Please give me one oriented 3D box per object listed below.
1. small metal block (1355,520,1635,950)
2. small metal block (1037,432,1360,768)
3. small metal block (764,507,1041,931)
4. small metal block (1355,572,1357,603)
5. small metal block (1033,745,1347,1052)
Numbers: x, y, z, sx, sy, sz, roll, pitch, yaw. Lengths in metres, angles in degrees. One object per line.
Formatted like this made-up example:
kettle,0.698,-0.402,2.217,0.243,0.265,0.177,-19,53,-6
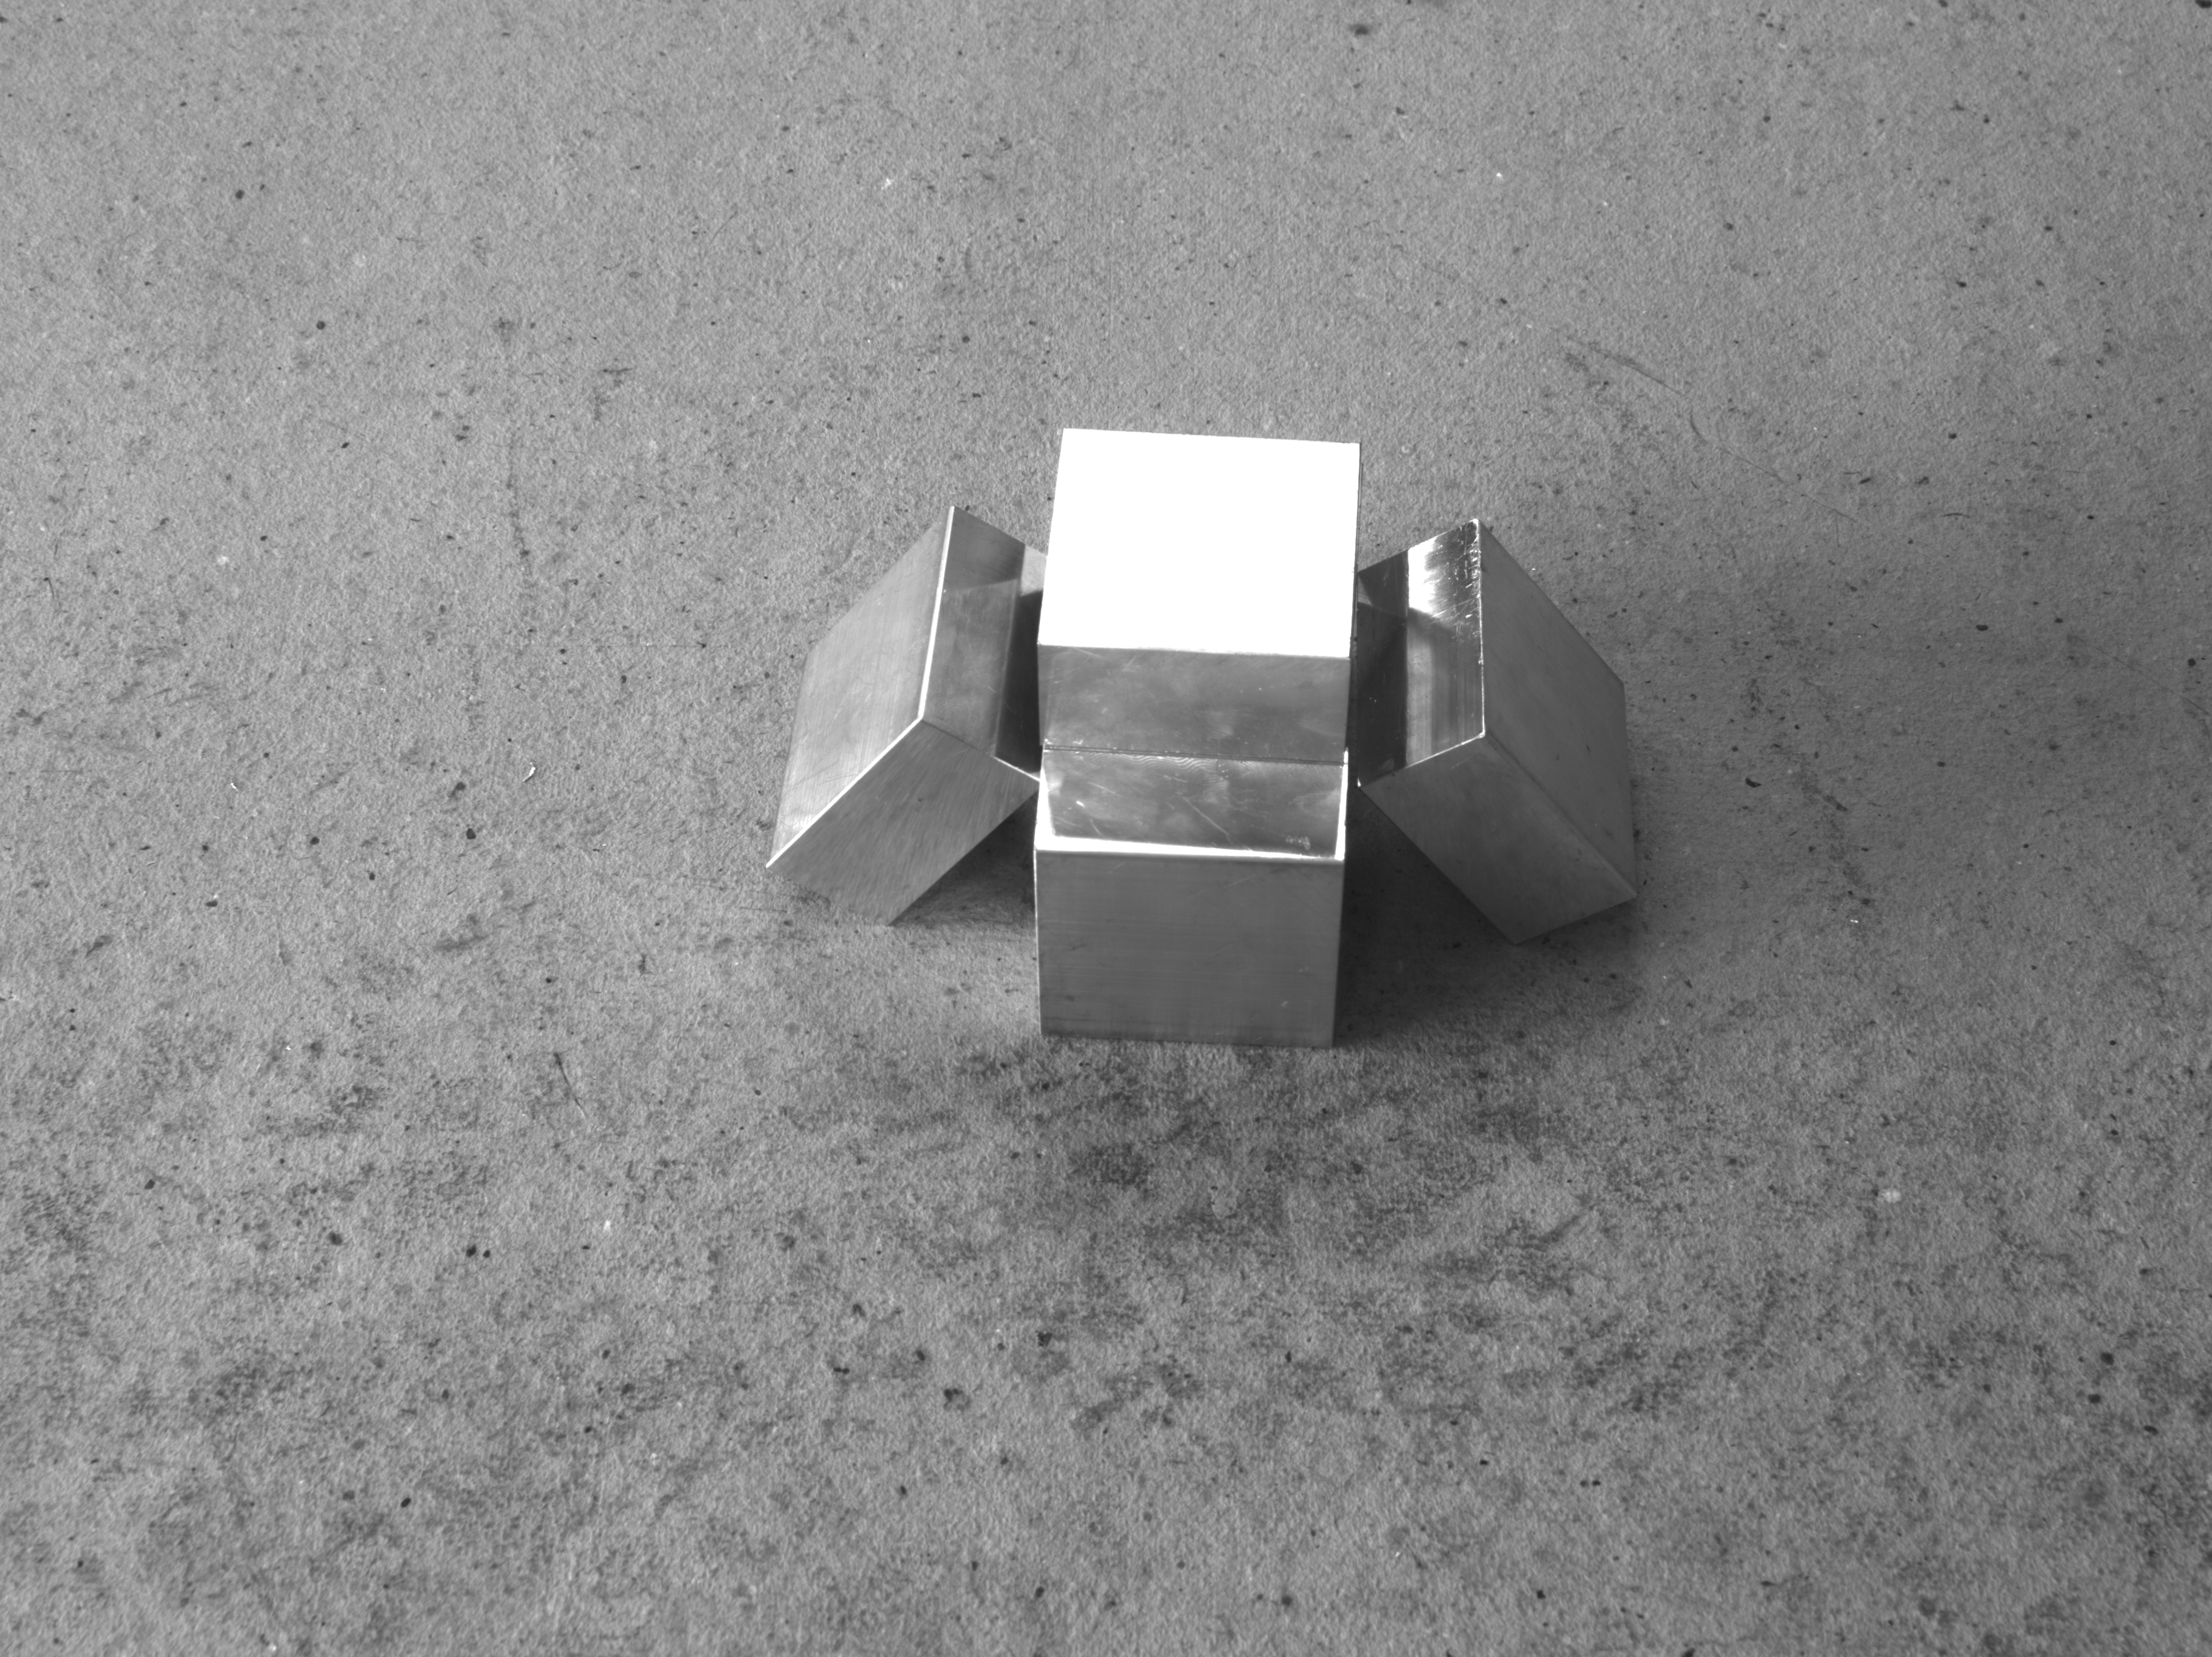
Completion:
small metal block,0.067,-0.016,0.637,0.025,0.050,0.050,-23,43,28
small metal block,0.016,-0.038,0.611,0.050,0.025,0.050,3,50,3
small metal block,-0.033,-0.019,0.640,0.025,0.050,0.050,27,46,-23
small metal block,0.019,-0.040,0.661,0.050,0.050,0.025,4,50,3
small metal block,0.014,0.011,0.618,0.050,0.050,0.025,2,50,2
